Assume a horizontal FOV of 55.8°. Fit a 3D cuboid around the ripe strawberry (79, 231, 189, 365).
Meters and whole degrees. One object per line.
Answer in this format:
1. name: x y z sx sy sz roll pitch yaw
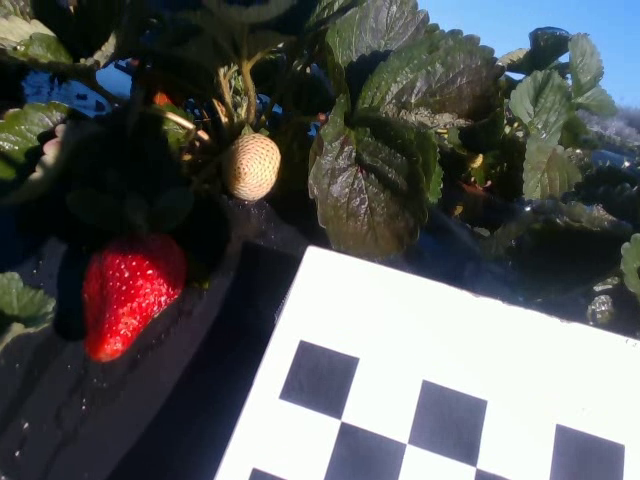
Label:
1. ripe strawberry: -0.078 0.023 0.245 0.048 0.069 0.040 0 -39 1
